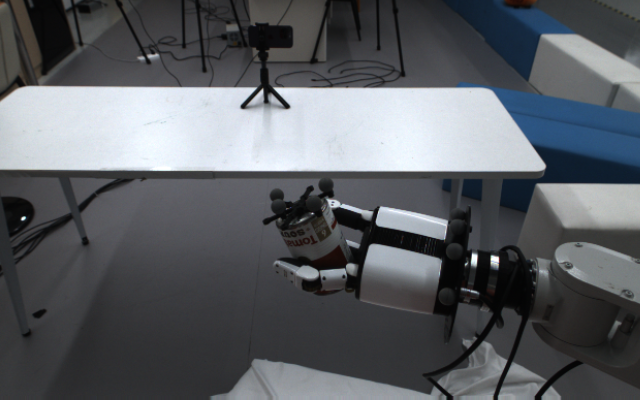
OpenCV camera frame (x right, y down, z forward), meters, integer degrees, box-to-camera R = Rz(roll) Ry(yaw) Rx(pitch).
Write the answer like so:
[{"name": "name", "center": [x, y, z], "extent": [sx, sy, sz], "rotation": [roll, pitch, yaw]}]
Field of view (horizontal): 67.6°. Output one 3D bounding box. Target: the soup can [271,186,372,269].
[{"name": "soup can", "center": [0.000, 0.053, 0.580], "extent": [0.067, 0.101, 0.067], "rotation": [-21, 24, 10]}]
